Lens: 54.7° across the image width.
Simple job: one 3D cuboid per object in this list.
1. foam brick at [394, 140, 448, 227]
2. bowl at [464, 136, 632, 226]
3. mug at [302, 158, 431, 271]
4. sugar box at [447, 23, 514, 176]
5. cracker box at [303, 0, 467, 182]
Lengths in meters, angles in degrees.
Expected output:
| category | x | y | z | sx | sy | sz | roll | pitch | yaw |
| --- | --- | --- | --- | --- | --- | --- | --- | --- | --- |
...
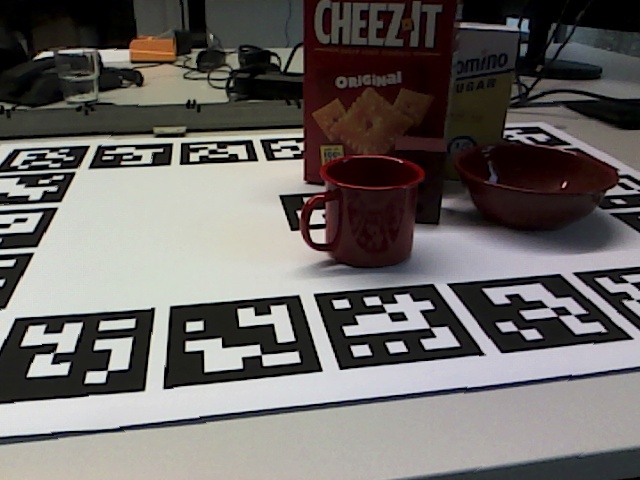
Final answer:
| category | x | y | z | sx | sy | sz | roll | pitch | yaw |
| --- | --- | --- | --- | --- | --- | --- | --- | --- | --- |
| foam brick | 0.102 | -0.060 | 0.649 | 0.053 | 0.078 | 0.051 | 2 | 26 | 4 |
| bowl | 0.229 | -0.059 | 0.641 | 0.161 | 0.055 | 0.162 | 1 | 27 | -1 |
| mug | 0.041 | -0.022 | 0.548 | 0.117 | 0.081 | 0.094 | -10 | 20 | -17 |
| sugar box | 0.173 | -0.166 | 0.742 | 0.093 | 0.176 | 0.045 | 5 | 27 | 9 |
| cracker box | 0.068 | -0.167 | 0.703 | 0.165 | 0.213 | 0.072 | 10 | 25 | 16 |
